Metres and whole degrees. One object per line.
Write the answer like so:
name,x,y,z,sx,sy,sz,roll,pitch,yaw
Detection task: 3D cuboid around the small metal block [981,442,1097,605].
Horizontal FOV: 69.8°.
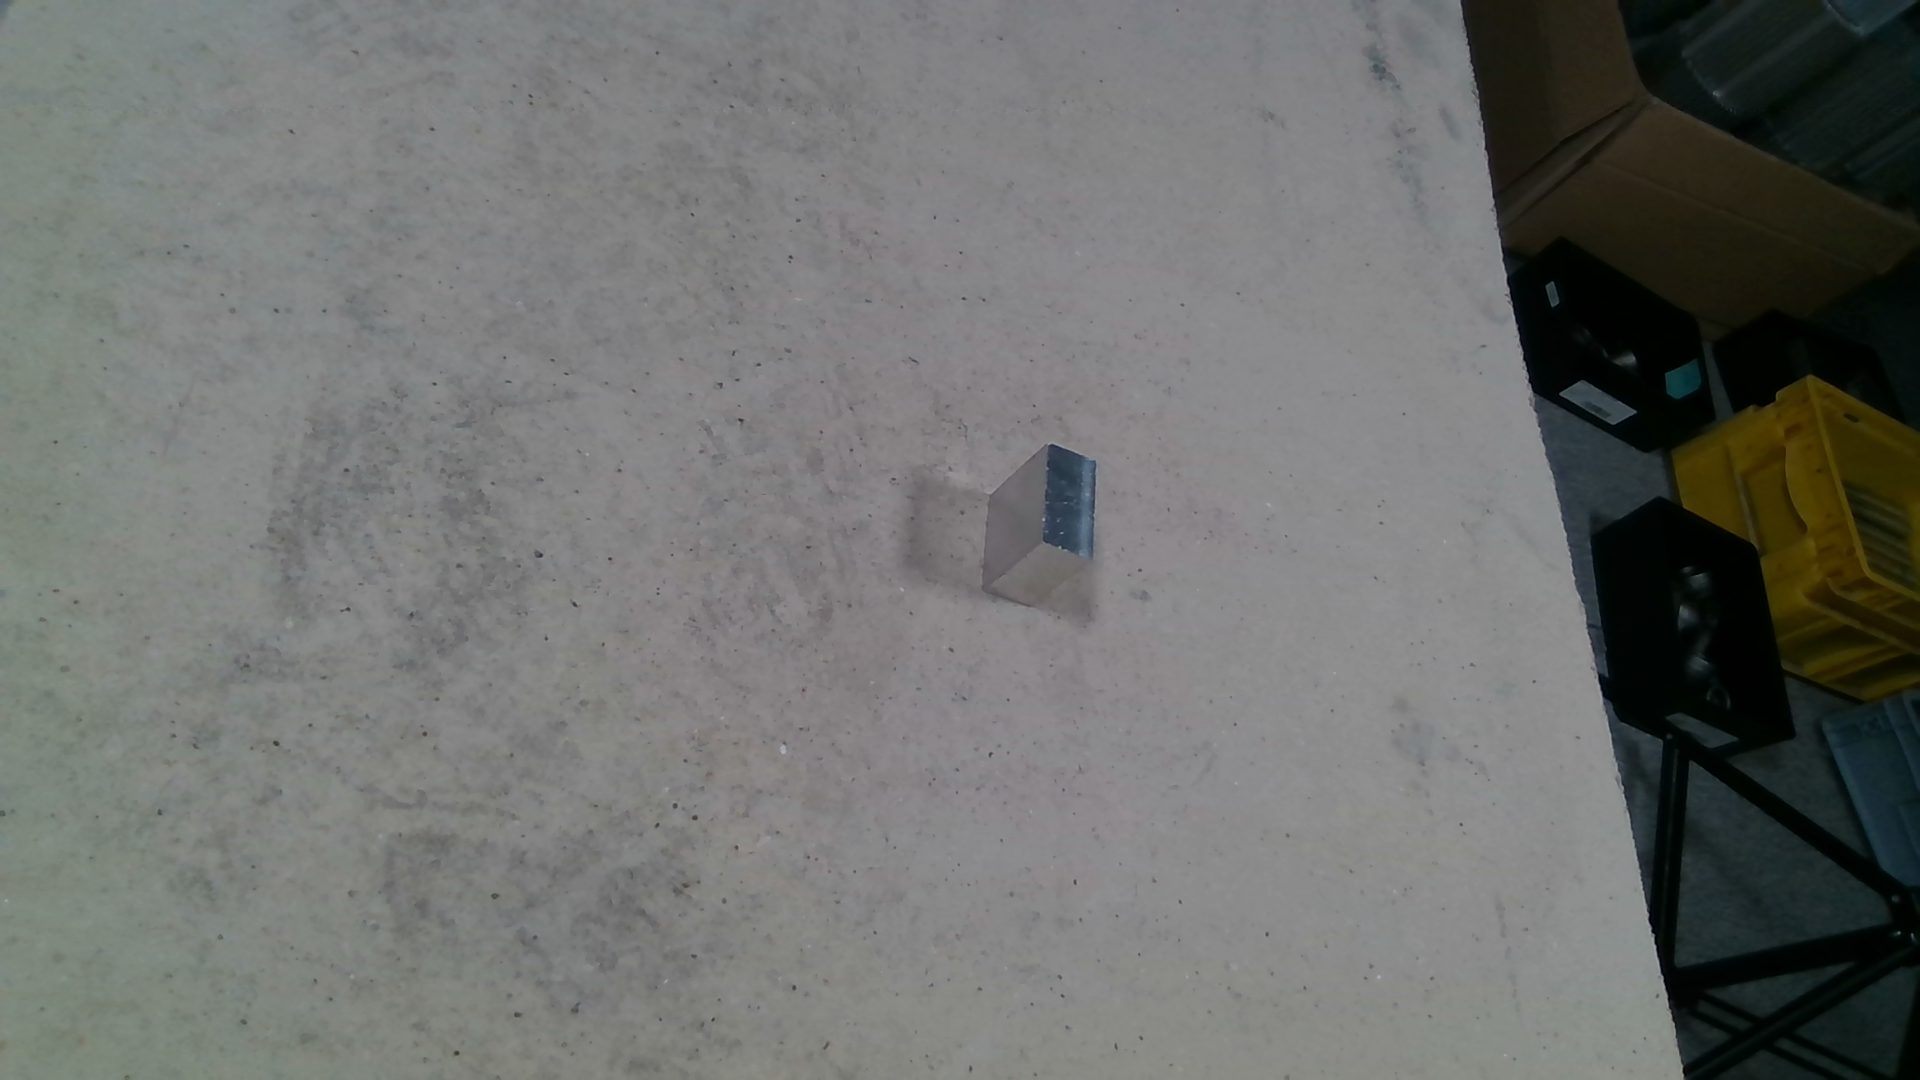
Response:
small metal block,0.034,-0.006,0.594,0.025,0.050,0.050,19,57,-22
